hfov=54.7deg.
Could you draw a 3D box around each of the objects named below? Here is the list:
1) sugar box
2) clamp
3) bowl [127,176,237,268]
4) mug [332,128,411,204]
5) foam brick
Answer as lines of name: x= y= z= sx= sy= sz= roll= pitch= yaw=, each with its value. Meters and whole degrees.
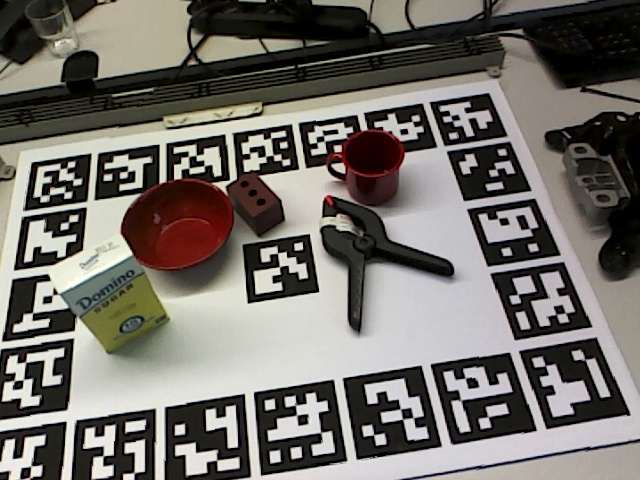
sugar box: x=-0.259 y=0.072 z=0.795 sx=0.092 sy=0.176 sz=0.045 roll=-30 pitch=61 yaw=-16
clamp: x=0.062 y=0.009 z=0.882 sx=0.165 sy=0.036 sz=0.204 roll=-29 pitch=60 yaw=-11
bowl: x=-0.200 y=-0.016 z=0.919 sx=0.162 sy=0.055 sz=0.162 roll=-2 pitch=56 yaw=3
mug: x=0.075 y=-0.111 z=0.938 sx=0.117 sy=0.081 sz=0.093 roll=15 pitch=59 yaw=10
foam brick: x=-0.087 y=-0.052 z=0.941 sx=0.052 sy=0.051 sz=0.078 roll=-32 pitch=61 yaw=-14
